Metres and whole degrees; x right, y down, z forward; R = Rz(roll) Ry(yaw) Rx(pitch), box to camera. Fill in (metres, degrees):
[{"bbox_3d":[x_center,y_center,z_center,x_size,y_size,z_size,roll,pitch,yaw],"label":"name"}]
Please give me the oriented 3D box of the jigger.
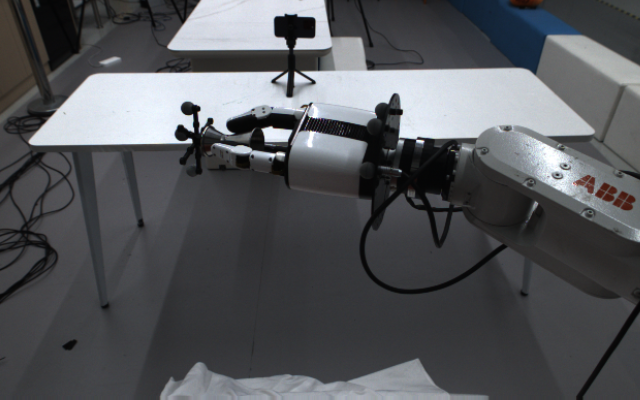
[{"bbox_3d":[-0.103,-0.074,0.609,0.071,0.043,0.043,6,34,16],"label":"jigger"}]
